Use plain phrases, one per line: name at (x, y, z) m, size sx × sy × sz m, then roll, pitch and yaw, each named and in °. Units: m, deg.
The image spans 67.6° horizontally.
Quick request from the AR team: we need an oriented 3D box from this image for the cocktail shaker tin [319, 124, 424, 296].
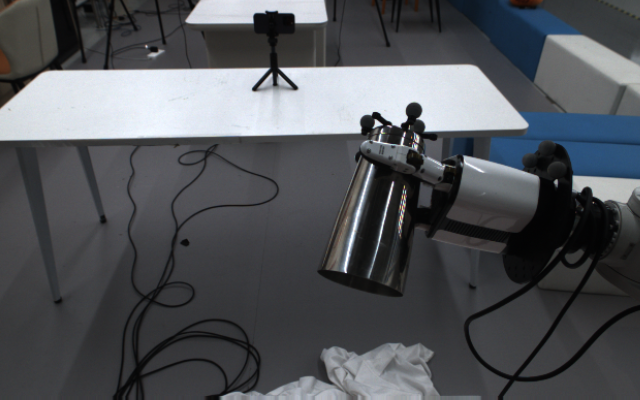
cocktail shaker tin at (0.066, 0.007, 0.527) m, size 0.093 × 0.093 × 0.170 m, roll 12°, pitch 72°, yaw 14°
